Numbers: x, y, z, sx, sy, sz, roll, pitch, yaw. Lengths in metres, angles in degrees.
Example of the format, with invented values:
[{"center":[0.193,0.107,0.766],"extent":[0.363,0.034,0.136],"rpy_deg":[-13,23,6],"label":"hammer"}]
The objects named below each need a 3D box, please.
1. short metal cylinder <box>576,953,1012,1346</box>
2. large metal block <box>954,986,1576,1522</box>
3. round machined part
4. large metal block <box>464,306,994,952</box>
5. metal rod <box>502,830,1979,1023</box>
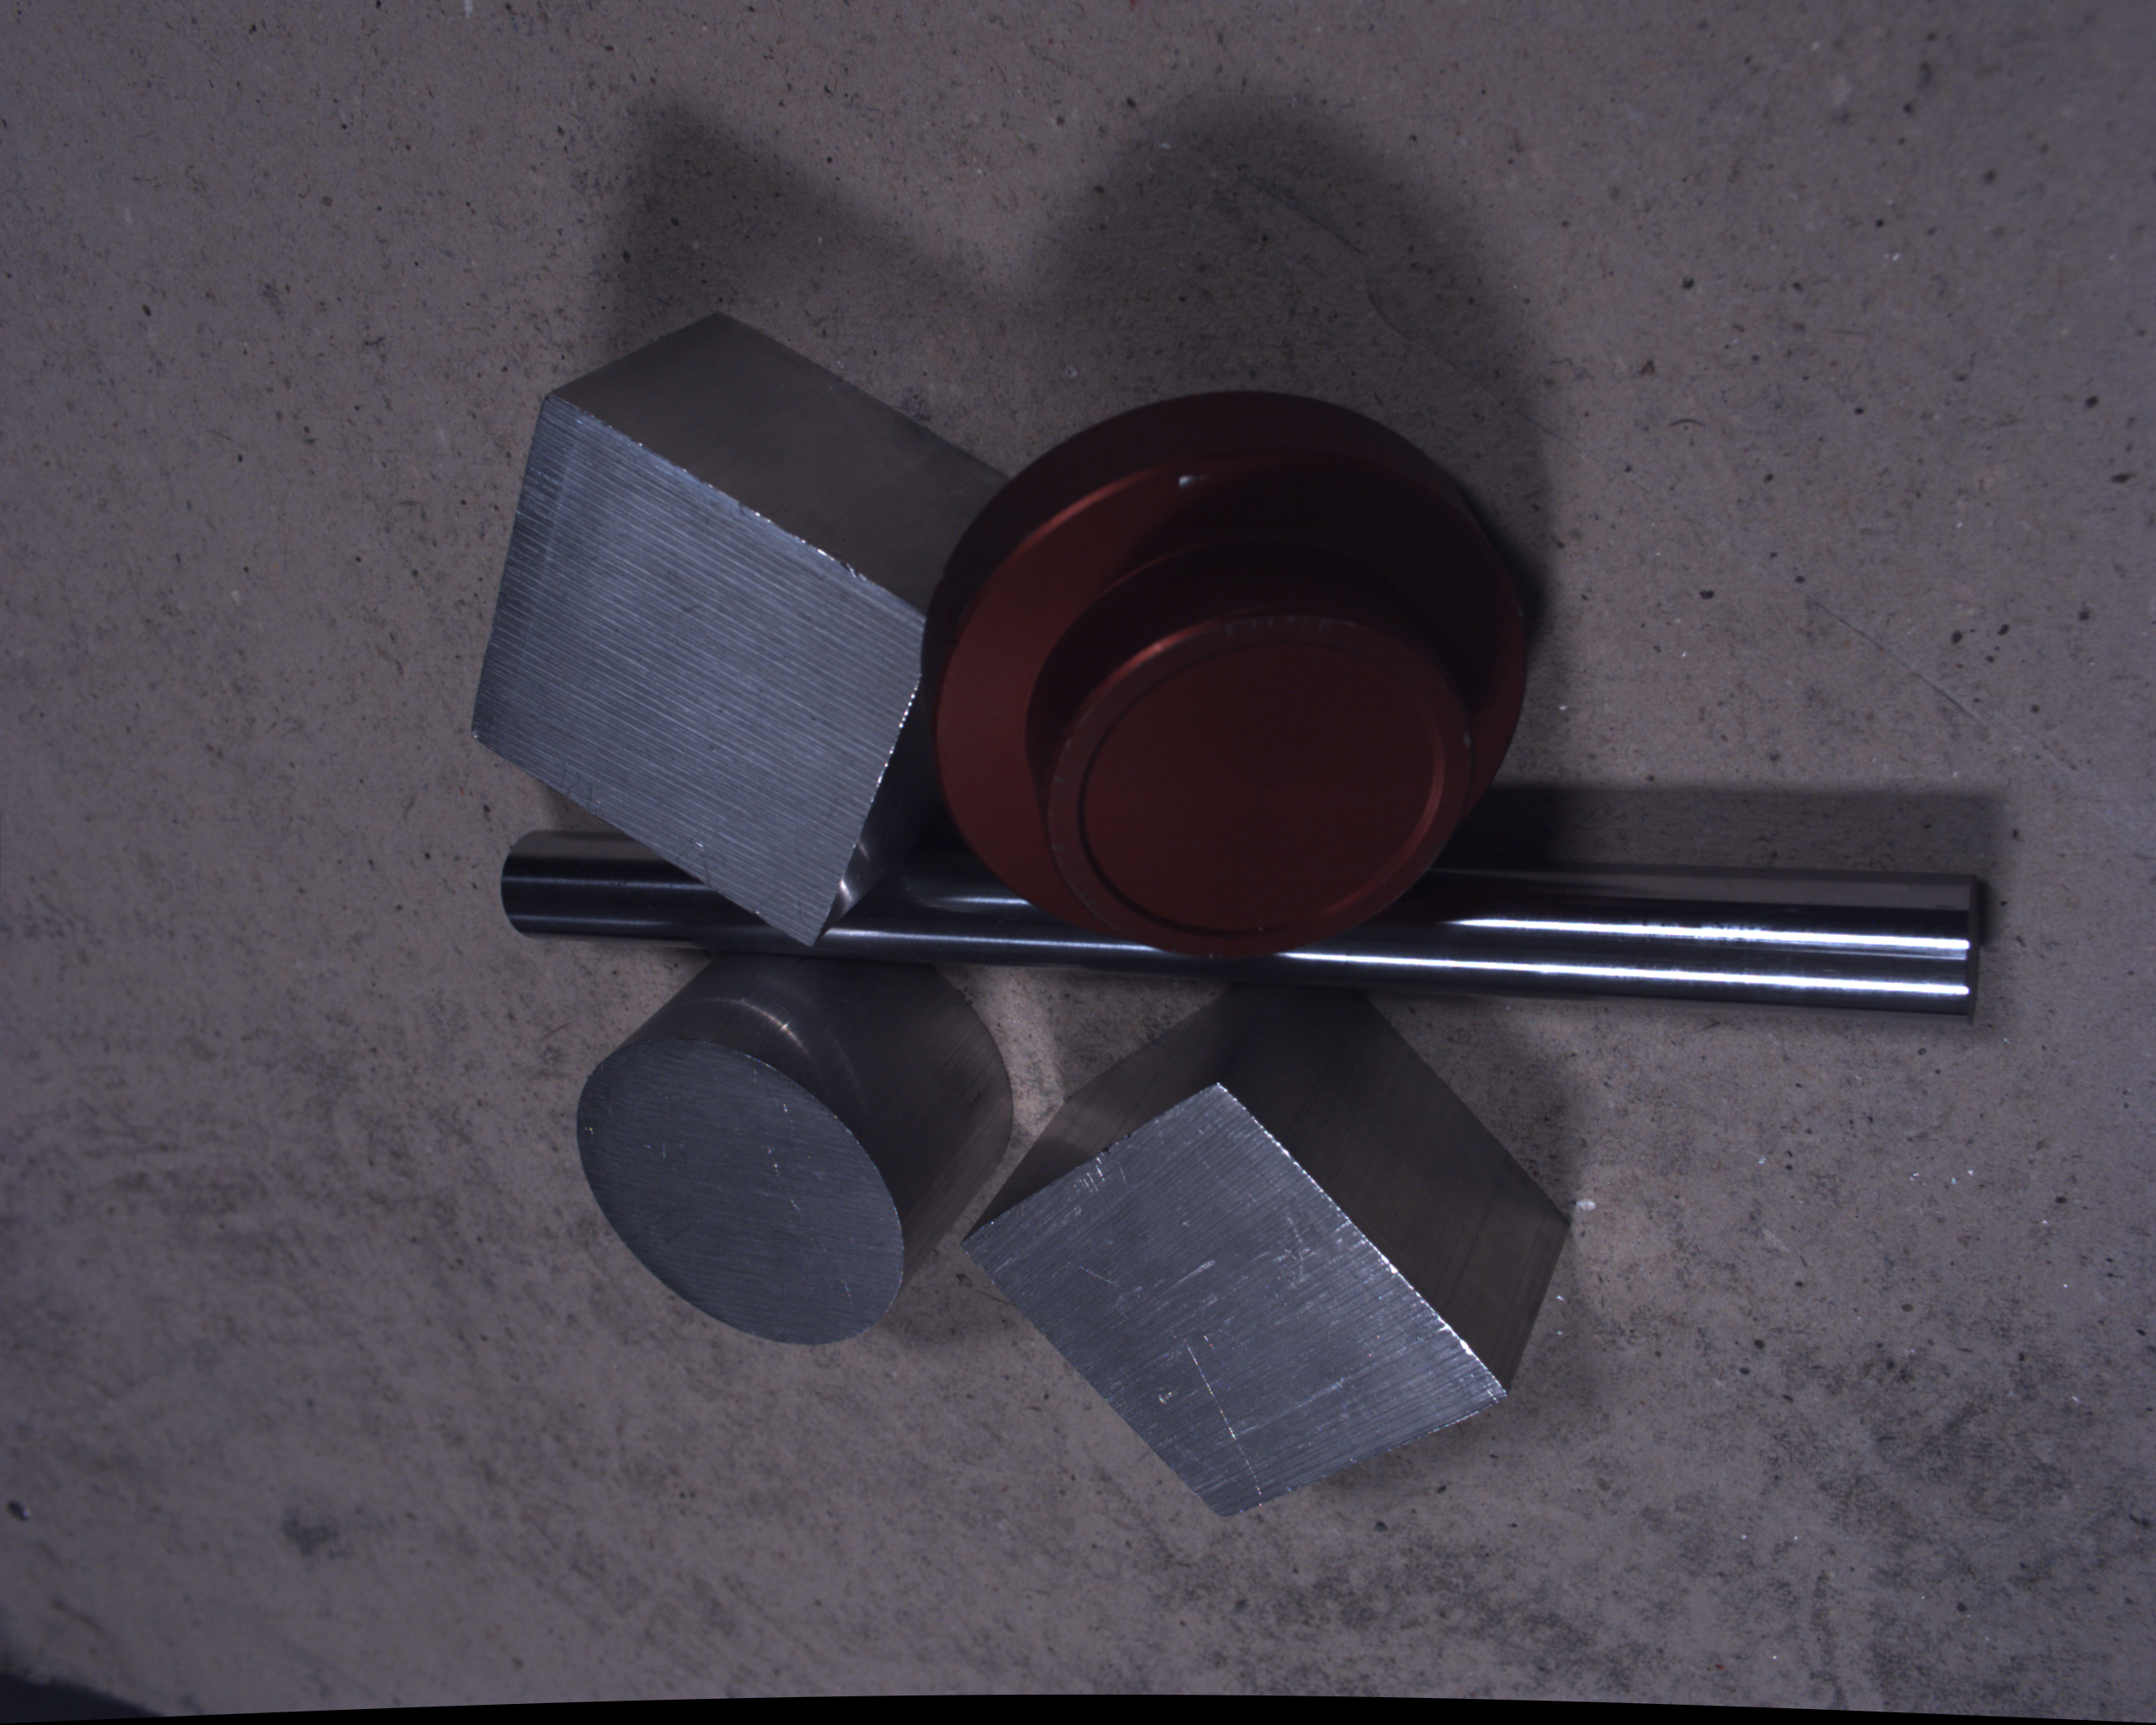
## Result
[{"center":[-0.062,0.059,0.459],"extent":[0.080,0.050,0.079],"rpy_deg":[13,124,20],"label":"short metal cylinder"},{"center":[0.037,0.075,0.418],"extent":[0.080,0.050,0.080],"rpy_deg":[48,129,-6],"label":"large metal block"},{"center":[0.024,-0.023,0.339],"extent":[0.099,0.042,0.097],"rpy_deg":[-4,129,-5],"label":"round machined part"},{"center":[-0.060,-0.044,0.392],"extent":[0.080,0.050,0.079],"rpy_deg":[32,128,7],"label":"large metal block"},{"center":[0.012,0.009,0.408],"extent":[0.301,0.025,0.025],"rpy_deg":[2,119,27],"label":"metal rod"}]
